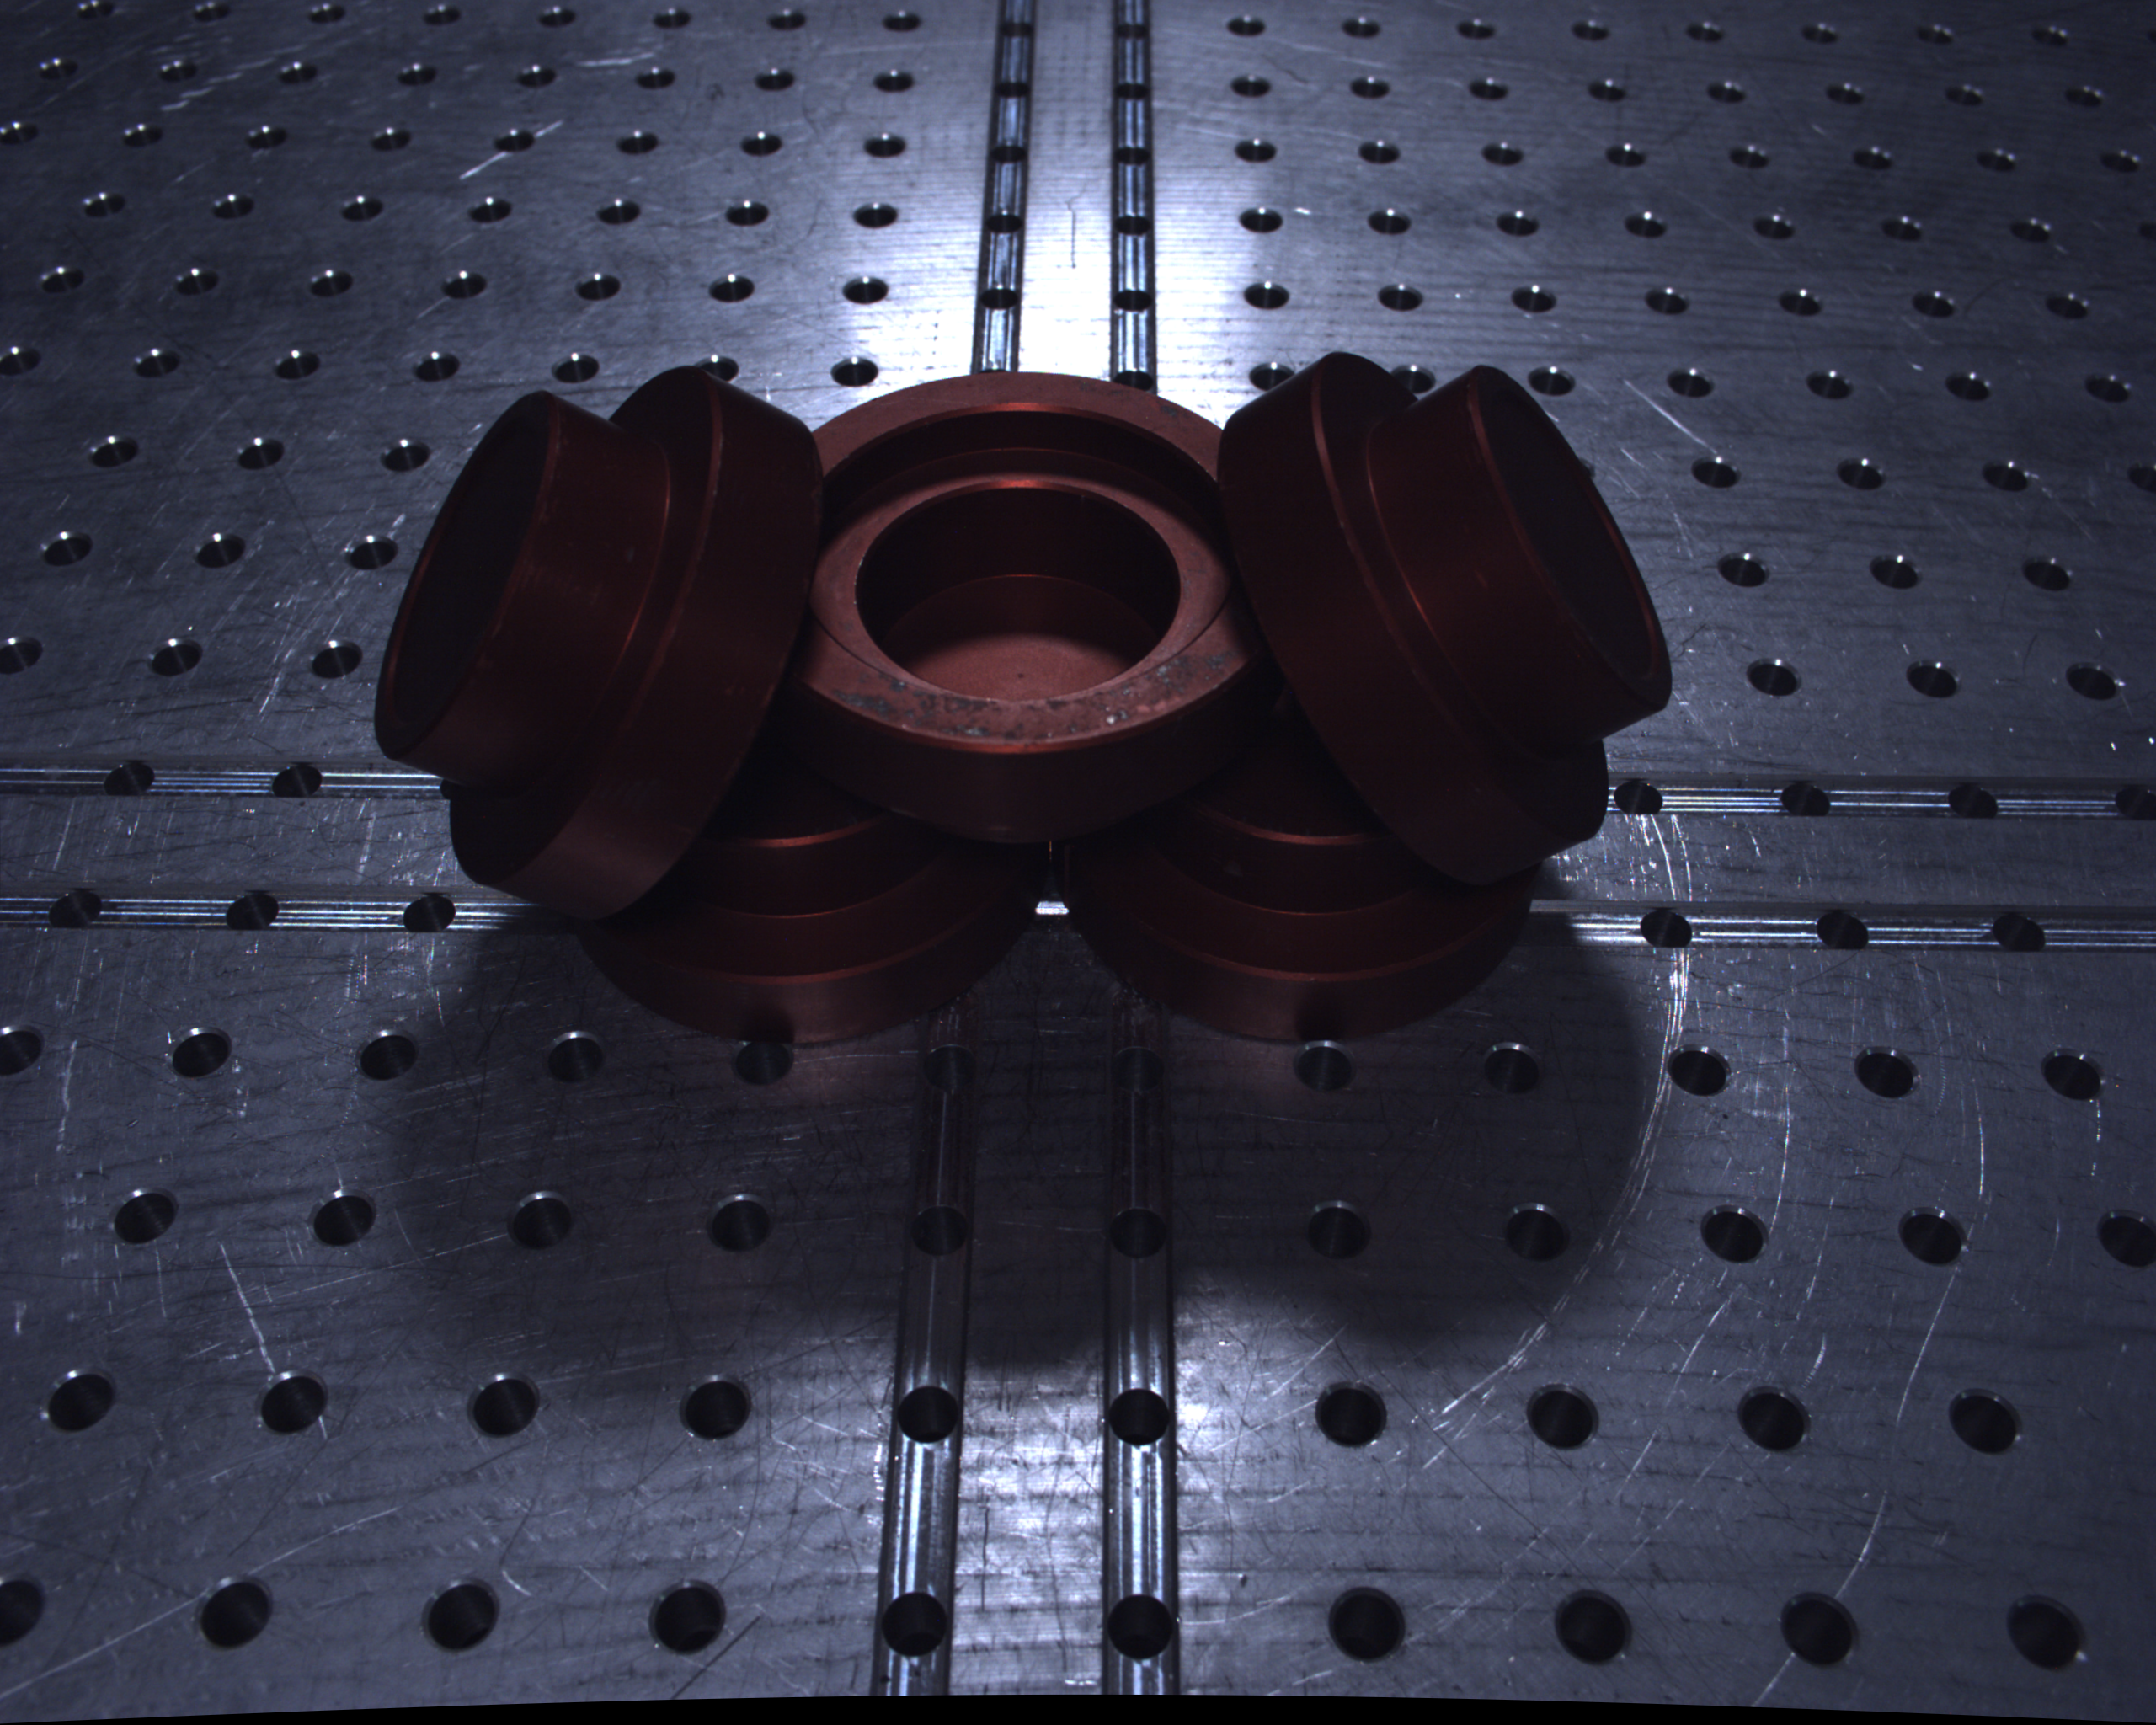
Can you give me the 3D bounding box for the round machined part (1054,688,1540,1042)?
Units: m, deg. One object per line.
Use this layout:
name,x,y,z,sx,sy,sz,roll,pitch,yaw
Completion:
round machined part,0.043,-0.016,0.410,0.099,0.042,0.098,0,50,0

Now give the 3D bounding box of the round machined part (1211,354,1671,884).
round machined part,0.070,-0.049,0.372,0.042,0.098,0.098,-29,42,30

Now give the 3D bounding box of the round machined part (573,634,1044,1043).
round machined part,-0.055,-0.016,0.409,0.099,0.042,0.098,0,50,0

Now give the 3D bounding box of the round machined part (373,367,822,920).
round machined part,-0.089,-0.042,0.365,0.042,0.098,0.098,23,42,-32

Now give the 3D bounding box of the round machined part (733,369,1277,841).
round machined part,-0.010,-0.043,0.376,0.099,0.042,0.098,0,50,0
